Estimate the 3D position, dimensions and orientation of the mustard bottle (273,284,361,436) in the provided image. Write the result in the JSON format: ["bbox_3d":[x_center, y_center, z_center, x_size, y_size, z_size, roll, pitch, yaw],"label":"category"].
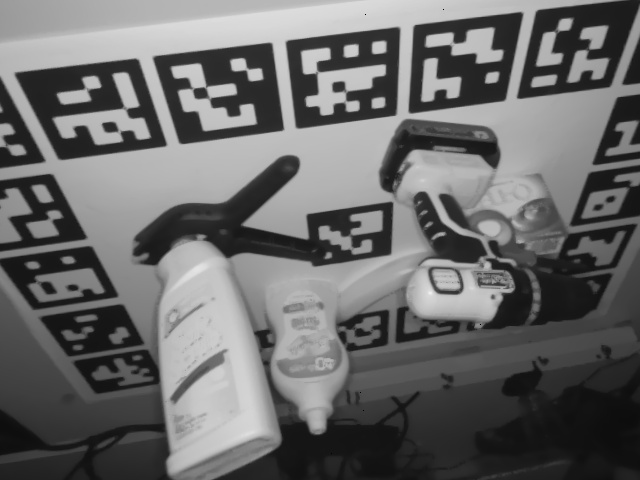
[{"bbox_3d":[-0.001,0.141,0.821,0.097,0.192,0.057,3,136,-13],"label":"mustard bottle"}]

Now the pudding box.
[{"bbox_3d":[0.224,-0.017,0.769,0.114,0.090,0.038,-5,144,-7],"label":"pudding box"}]

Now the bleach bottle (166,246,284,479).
[{"bbox_3d":[-0.111,0.097,0.678,0.102,0.251,0.068,-25,140,5],"label":"bleach bottle"}]

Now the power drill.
[{"bbox_3d":[0.171,-0.009,0.651,0.186,0.188,0.056,-1,144,-15],"label":"power drill"}]

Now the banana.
[{"bbox_3d":[0.098,0.087,0.884,0.195,0.039,0.075,-36,149,24],"label":"banana"}]

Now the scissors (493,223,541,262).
[{"bbox_3d":[0.242,0.033,0.732,0.204,0.016,0.086,13,129,-18],"label":"scissors"}]

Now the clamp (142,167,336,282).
[{"bbox_3d":[-0.091,0.005,0.740,0.203,0.037,0.164,-12,136,2],"label":"clamp"}]
